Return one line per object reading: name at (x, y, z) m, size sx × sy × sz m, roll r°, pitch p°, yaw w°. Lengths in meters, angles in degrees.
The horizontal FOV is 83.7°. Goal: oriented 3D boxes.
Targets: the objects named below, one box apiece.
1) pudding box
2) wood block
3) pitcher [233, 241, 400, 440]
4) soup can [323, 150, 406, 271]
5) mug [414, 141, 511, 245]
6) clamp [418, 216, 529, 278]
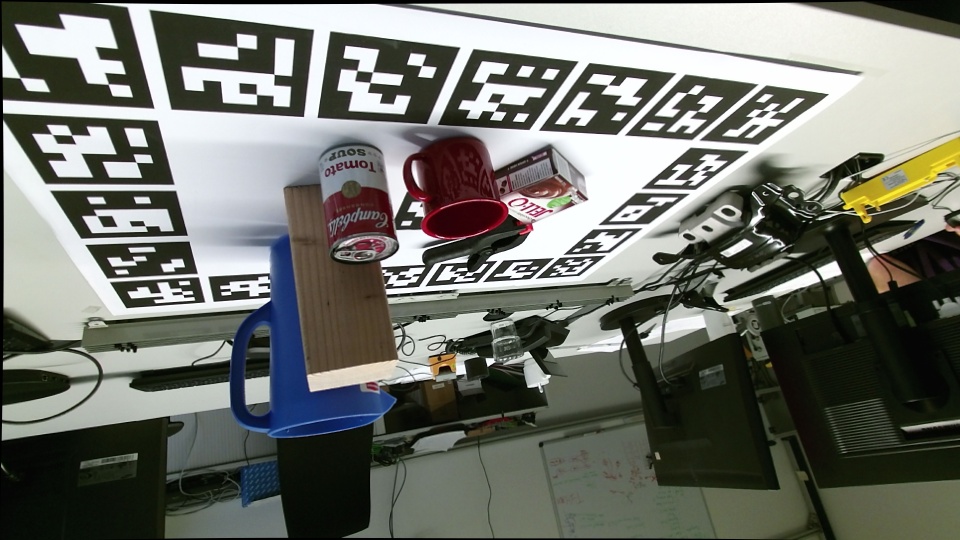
pudding box at (0.081, -0.096, 0.665) m, size 0.090 × 0.038 × 0.114 m, roll -26°, pitch 157°, yaw 24°
wood block at (-0.152, 0.025, 0.586) m, size 0.090 × 0.205 × 0.091 m, roll -2°, pitch 158°, yaw -19°
pitcher at (-0.213, 0.090, 0.675) m, size 0.189 × 0.241 × 0.133 m, roll -8°, pitch 162°, yaw -24°
soup can at (-0.117, -0.059, 0.535) m, size 0.068 × 0.101 × 0.068 m, roll -13°, pitch 158°, yaw -5°
mug at (-0.027, -0.084, 0.559) m, size 0.093 × 0.081 × 0.117 m, roll -21°, pitch 160°, yaw 28°
clamp at (0.005, -0.035, 0.795) m, size 0.165 × 0.036 × 0.122 m, roll -28°, pitch 148°, yaw 33°
